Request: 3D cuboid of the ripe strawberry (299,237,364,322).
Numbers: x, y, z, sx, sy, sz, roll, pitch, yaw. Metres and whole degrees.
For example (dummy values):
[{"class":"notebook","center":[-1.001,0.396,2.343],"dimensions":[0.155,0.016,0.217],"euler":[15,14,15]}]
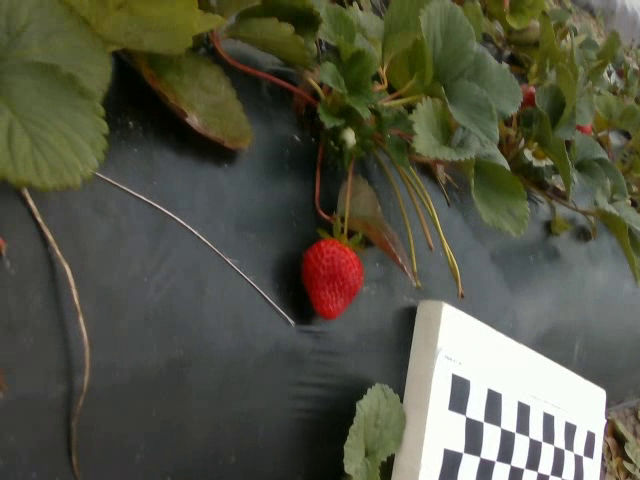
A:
[{"class":"ripe strawberry","center":[0.005,0.015,0.242],"dimensions":[0.022,0.033,0.028],"euler":[-10,-41,44]}]
